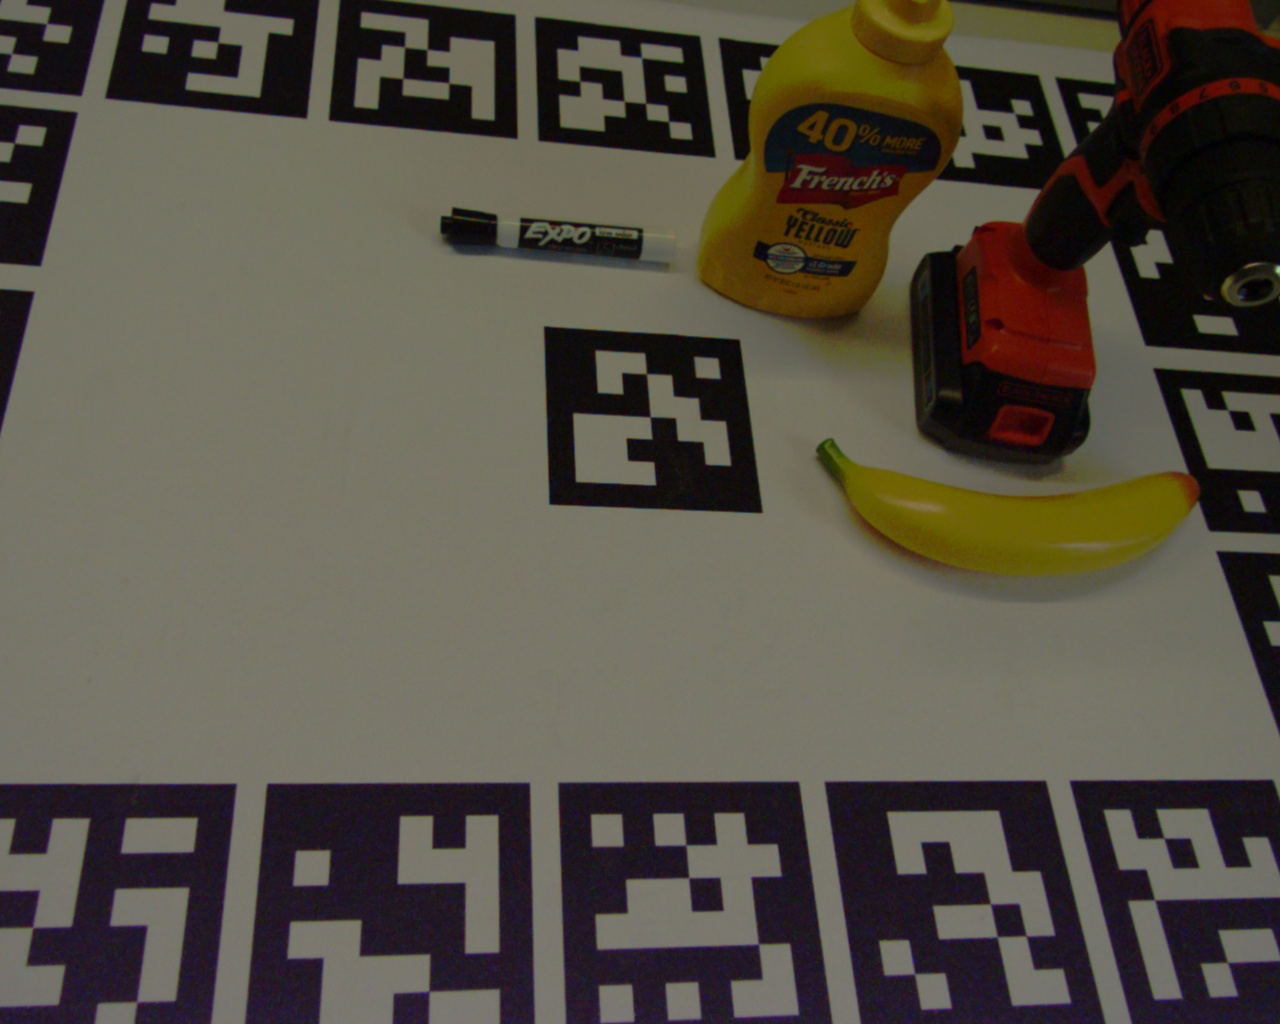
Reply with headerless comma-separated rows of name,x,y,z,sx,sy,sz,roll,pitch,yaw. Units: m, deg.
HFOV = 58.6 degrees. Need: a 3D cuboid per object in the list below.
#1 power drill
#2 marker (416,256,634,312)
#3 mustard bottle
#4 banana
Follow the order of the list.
power drill,0.187,-0.097,0.556,0.057,0.187,0.184,15,59,-7
marker,-0.064,-0.128,0.637,0.120,0.020,0.020,4,63,-9
mustard bottle,0.078,-0.152,0.581,0.096,0.192,0.058,13,61,-7
banana,0.163,0.023,0.597,0.197,0.039,0.074,9,63,-5
